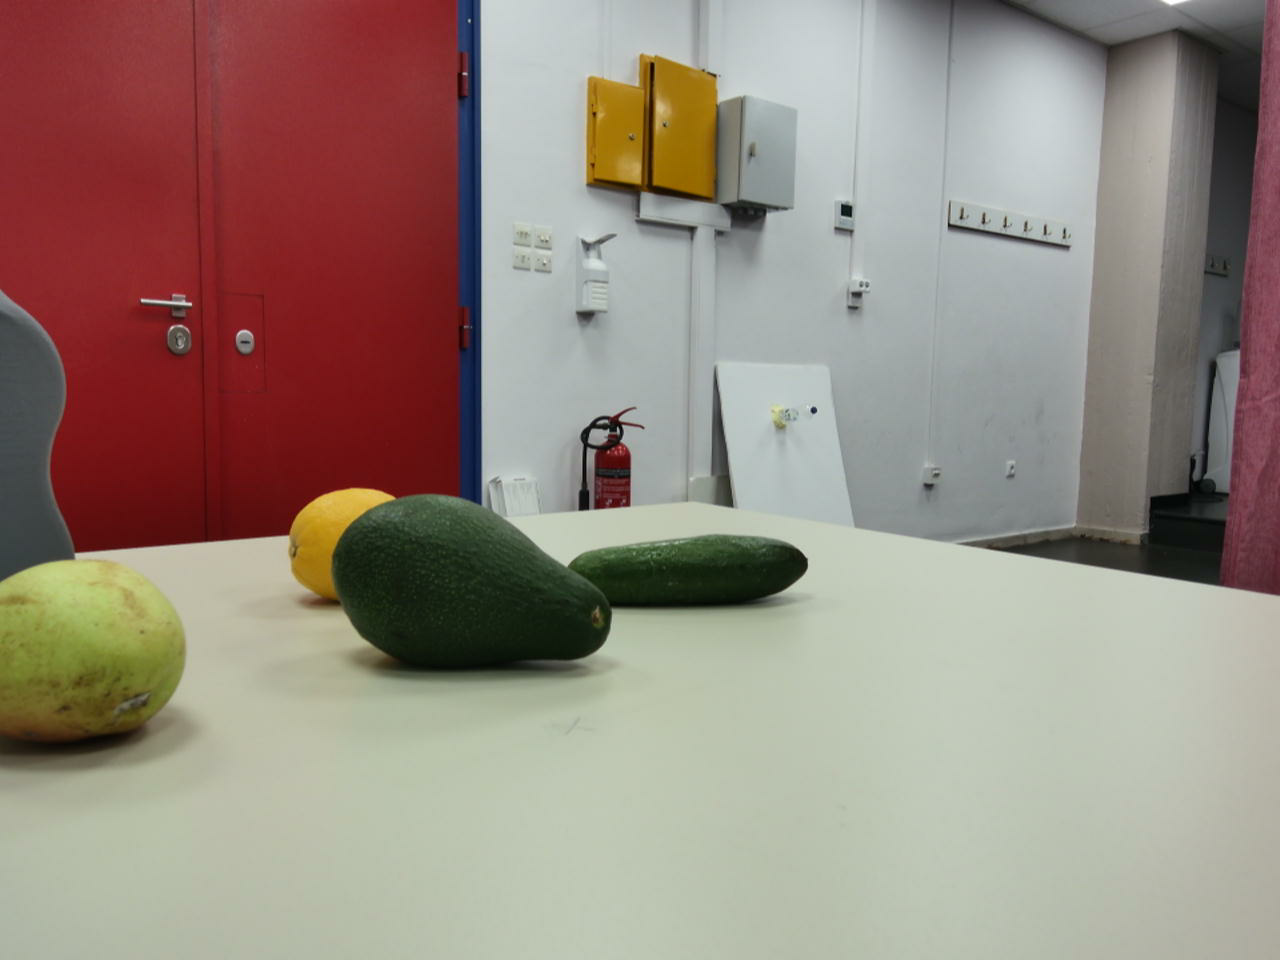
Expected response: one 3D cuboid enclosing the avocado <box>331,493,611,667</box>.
[{"bbox_3d":[-0.072,0.041,0.411,0.110,0.071,0.072,2,4,29],"label":"avocado"}]
